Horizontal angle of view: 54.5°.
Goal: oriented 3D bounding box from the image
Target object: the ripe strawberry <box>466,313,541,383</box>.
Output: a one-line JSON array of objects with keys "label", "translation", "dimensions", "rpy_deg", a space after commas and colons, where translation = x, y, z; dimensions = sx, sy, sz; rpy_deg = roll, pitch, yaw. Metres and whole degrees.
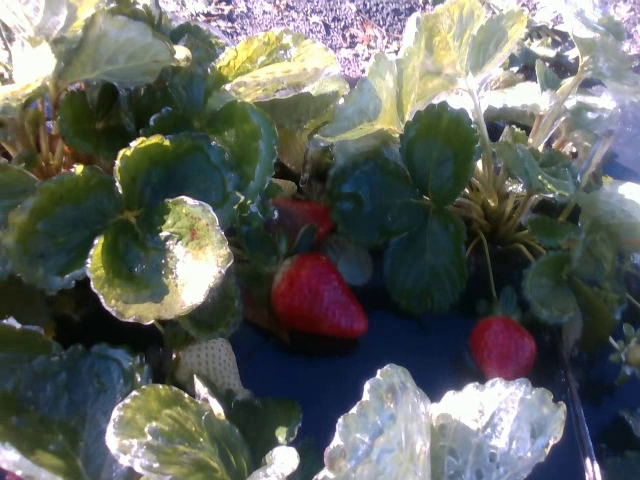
[{"label": "ripe strawberry", "translation": [0.094, 0.058, 0.312], "dimensions": [0.039, 0.047, 0.040], "rpy_deg": [32, -39, -5]}]

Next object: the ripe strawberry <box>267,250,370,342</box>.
[{"label": "ripe strawberry", "translation": [0.004, 0.030, 0.307], "dimensions": [0.044, 0.056, 0.040], "rpy_deg": [-48, 0, -28]}]
